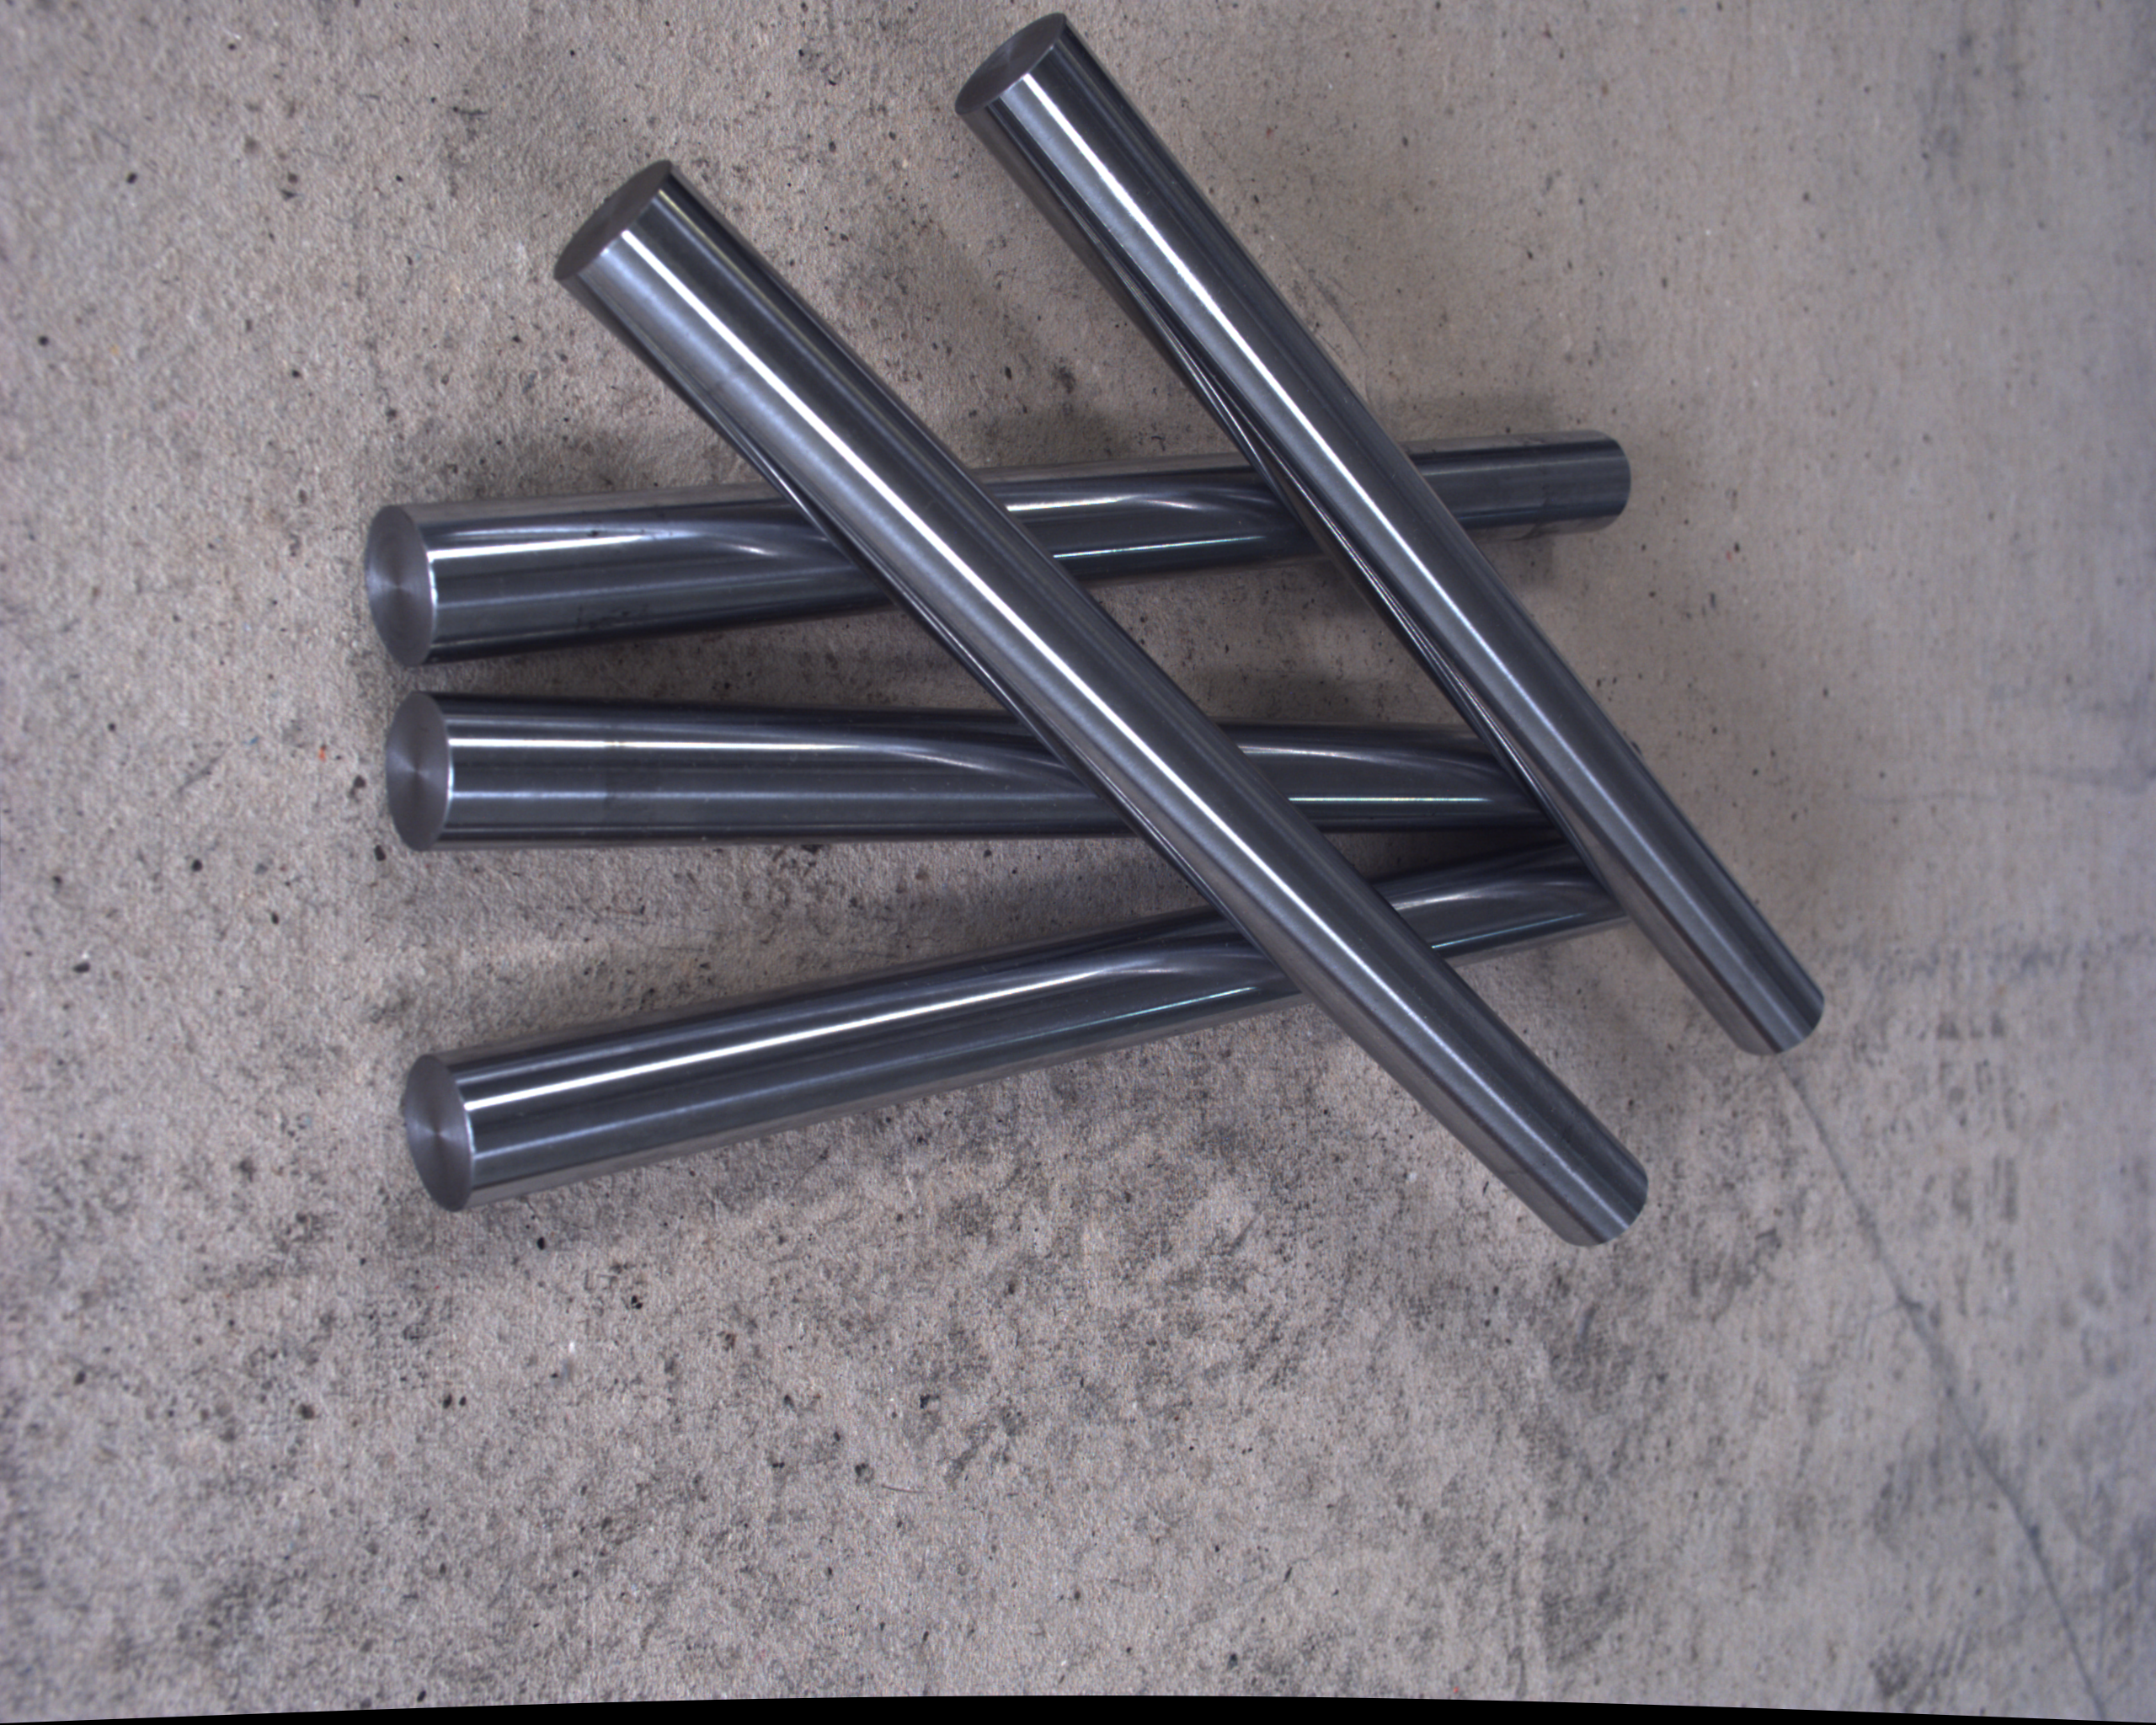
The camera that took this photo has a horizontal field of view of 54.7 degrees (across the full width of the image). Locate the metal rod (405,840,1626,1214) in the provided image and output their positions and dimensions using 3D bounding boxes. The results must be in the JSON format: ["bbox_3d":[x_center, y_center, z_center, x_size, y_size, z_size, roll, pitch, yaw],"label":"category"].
[{"bbox_3d":[0.016,0.023,0.419,0.302,0.025,0.025,-9,96,-40],"label":"metal rod"}]

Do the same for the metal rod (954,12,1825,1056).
[{"bbox_3d":[0.081,-0.051,0.441,0.300,0.025,0.025,44,64,-31],"label":"metal rod"}]

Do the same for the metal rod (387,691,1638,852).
[{"bbox_3d":[0.014,-0.017,0.418,0.302,0.025,0.025,-2,91,-40],"label":"metal rod"}]

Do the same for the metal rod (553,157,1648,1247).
[{"bbox_3d":[0.024,-0.011,0.393,0.300,0.025,0.025,43,64,-32],"label":"metal rod"}]

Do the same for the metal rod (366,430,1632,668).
[{"bbox_3d":[0.011,-0.068,0.415,0.302,0.025,0.025,-13,98,-39],"label":"metal rod"}]
